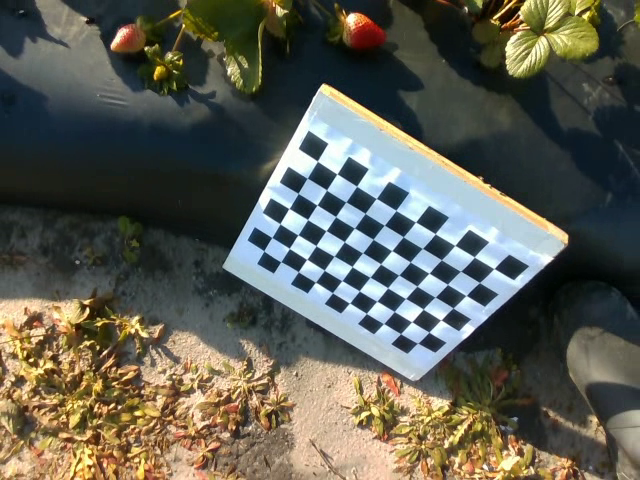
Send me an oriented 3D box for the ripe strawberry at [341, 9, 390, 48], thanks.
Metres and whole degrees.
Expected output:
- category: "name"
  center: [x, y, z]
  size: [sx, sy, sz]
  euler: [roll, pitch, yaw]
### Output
- category: "ripe strawberry"
  center: [0.050, -0.231, 0.649]
  size: [0.064, 0.044, 0.043]
  euler: [16, 38, 5]
